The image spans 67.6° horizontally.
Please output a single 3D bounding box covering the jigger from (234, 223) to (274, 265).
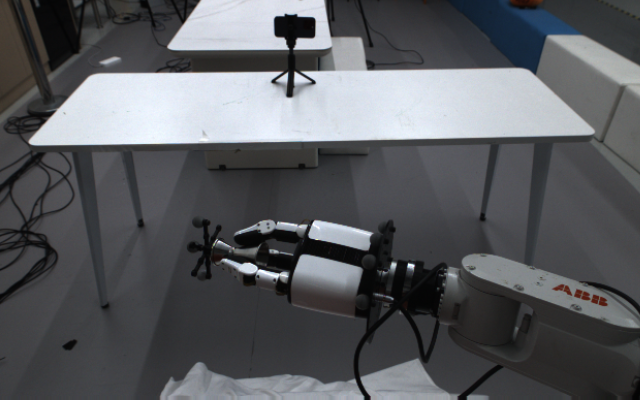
[{"bbox_3d":[-0.102,0.072,0.662,0.071,0.043,0.043,6,34,16],"label":"jigger"}]
